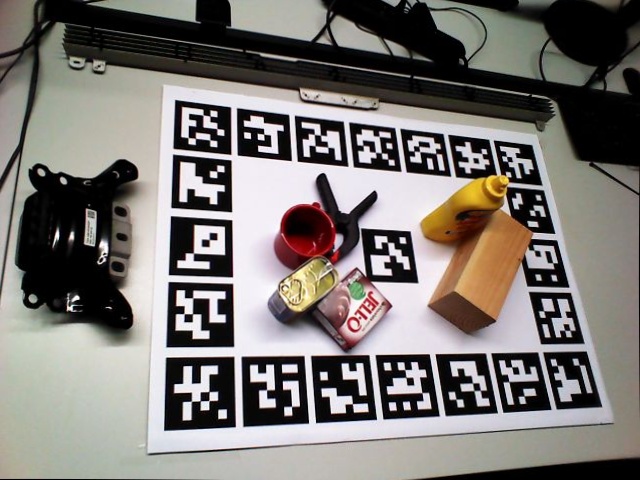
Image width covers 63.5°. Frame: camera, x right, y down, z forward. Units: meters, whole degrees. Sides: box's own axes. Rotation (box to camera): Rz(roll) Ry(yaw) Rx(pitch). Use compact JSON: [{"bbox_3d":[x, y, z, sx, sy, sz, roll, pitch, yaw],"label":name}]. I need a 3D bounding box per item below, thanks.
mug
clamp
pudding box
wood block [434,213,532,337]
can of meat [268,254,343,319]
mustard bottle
[{"bbox_3d":[-0.030,-0.014,0.867,0.093,0.082,0.116,25,65,-8],"label":"mug"},{"bbox_3d":[0.045,-0.044,0.910,0.122,0.037,0.164,22,65,-11],"label":"clamp"},{"bbox_3d":[0.059,0.111,0.846,0.113,0.039,0.090,-39,85,-29],"label":"pudding box"},{"bbox_3d":[0.301,0.057,0.926,0.090,0.091,0.205,37,60,0],"label":"wood block"},{"bbox_3d":[-0.026,0.075,0.800,0.101,0.084,0.058,-28,81,-26],"label":"can of meat"},{"bbox_3d":[0.273,-0.062,0.901,0.096,0.193,0.058,-1,70,-19],"label":"mustard bottle"}]
